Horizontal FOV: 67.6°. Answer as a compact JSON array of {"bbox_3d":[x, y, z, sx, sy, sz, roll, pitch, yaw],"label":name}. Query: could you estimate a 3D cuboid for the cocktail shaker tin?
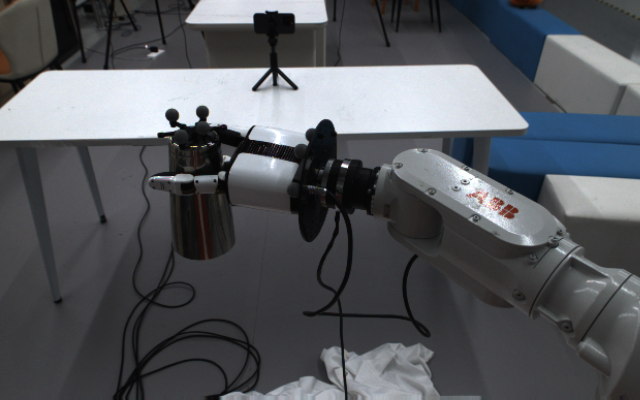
[{"bbox_3d":[-0.166,-0.013,0.678,0.093,0.170,0.093,2,33,-2],"label":"cocktail shaker tin"}]
